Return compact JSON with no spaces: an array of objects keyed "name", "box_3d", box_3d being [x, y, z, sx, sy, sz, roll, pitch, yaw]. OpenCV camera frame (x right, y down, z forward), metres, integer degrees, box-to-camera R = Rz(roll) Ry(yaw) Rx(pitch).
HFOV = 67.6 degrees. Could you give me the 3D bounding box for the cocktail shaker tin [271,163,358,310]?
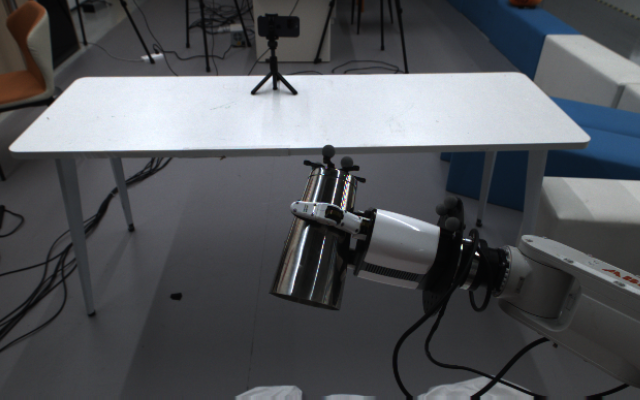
[{"name":"cocktail shaker tin","box_3d":[-0.001,0.049,0.628,0.093,0.093,0.170,11,74,12]}]
